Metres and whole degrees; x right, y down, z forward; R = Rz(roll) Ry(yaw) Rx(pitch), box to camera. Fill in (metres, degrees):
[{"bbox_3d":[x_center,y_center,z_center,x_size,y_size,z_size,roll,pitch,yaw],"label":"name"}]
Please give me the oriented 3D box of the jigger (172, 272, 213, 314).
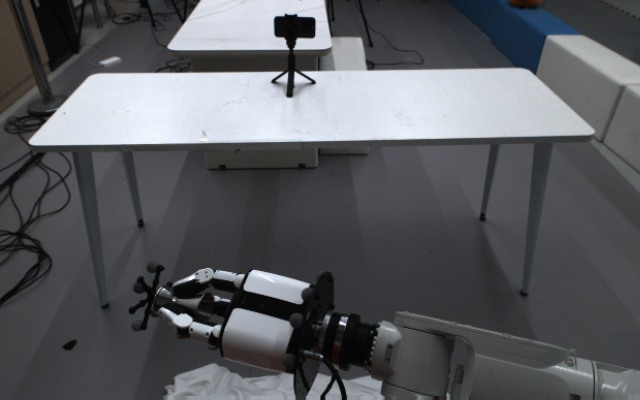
[{"bbox_3d":[-0.178,0.138,0.653,0.071,0.043,0.043,7,35,17],"label":"jigger"}]
